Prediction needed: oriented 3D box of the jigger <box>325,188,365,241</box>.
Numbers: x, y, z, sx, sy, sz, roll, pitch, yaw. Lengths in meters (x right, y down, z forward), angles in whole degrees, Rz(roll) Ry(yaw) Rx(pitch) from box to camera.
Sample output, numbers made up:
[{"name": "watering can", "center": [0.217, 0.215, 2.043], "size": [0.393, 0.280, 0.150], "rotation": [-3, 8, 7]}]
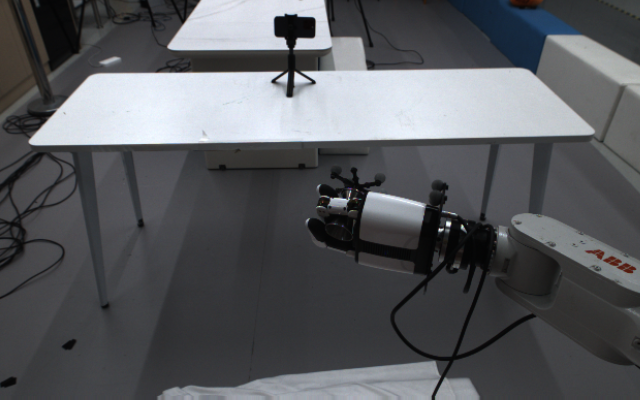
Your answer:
[{"name": "jigger", "center": [0.042, 0.021, 0.711], "size": [0.043, 0.043, 0.071], "rotation": [13, 58, 16]}]
